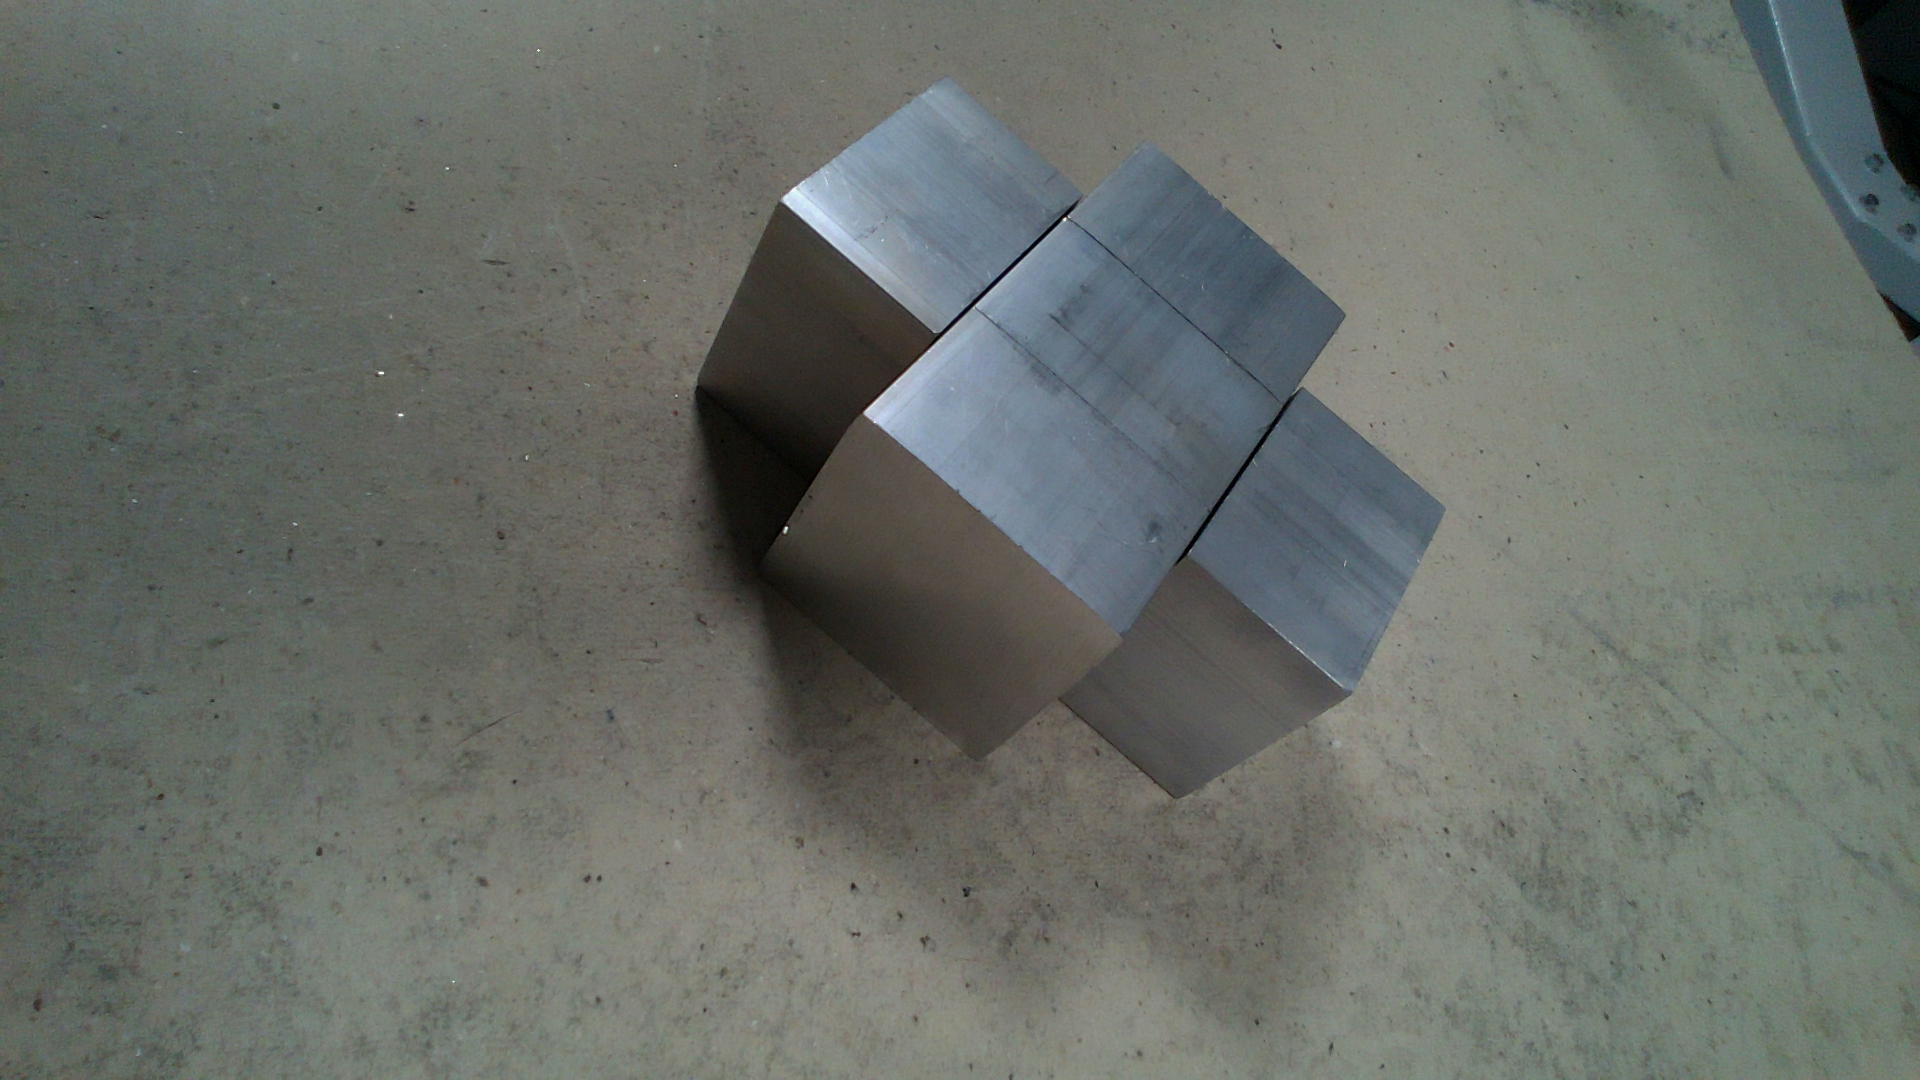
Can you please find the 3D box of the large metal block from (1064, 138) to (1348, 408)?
[{"bbox_3d":[0.055,-0.059,0.421,0.080,0.080,0.050,41,51,0],"label":"large metal block"}]

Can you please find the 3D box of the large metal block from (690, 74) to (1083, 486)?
[{"bbox_3d":[-0.021,-0.070,0.386,0.050,0.080,0.080,41,51,0],"label":"large metal block"}]

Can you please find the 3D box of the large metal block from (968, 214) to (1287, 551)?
[{"bbox_3d":[0.030,-0.029,0.389,0.080,0.080,0.050,41,51,0],"label":"large metal block"}]

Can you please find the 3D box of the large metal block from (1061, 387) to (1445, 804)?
[{"bbox_3d":[0.079,0.016,0.388,0.050,0.080,0.080,41,51,0],"label":"large metal block"}]

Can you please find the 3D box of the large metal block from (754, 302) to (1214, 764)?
[{"bbox_3d":[0.004,0.001,0.357,0.080,0.080,0.050,41,51,0],"label":"large metal block"}]
